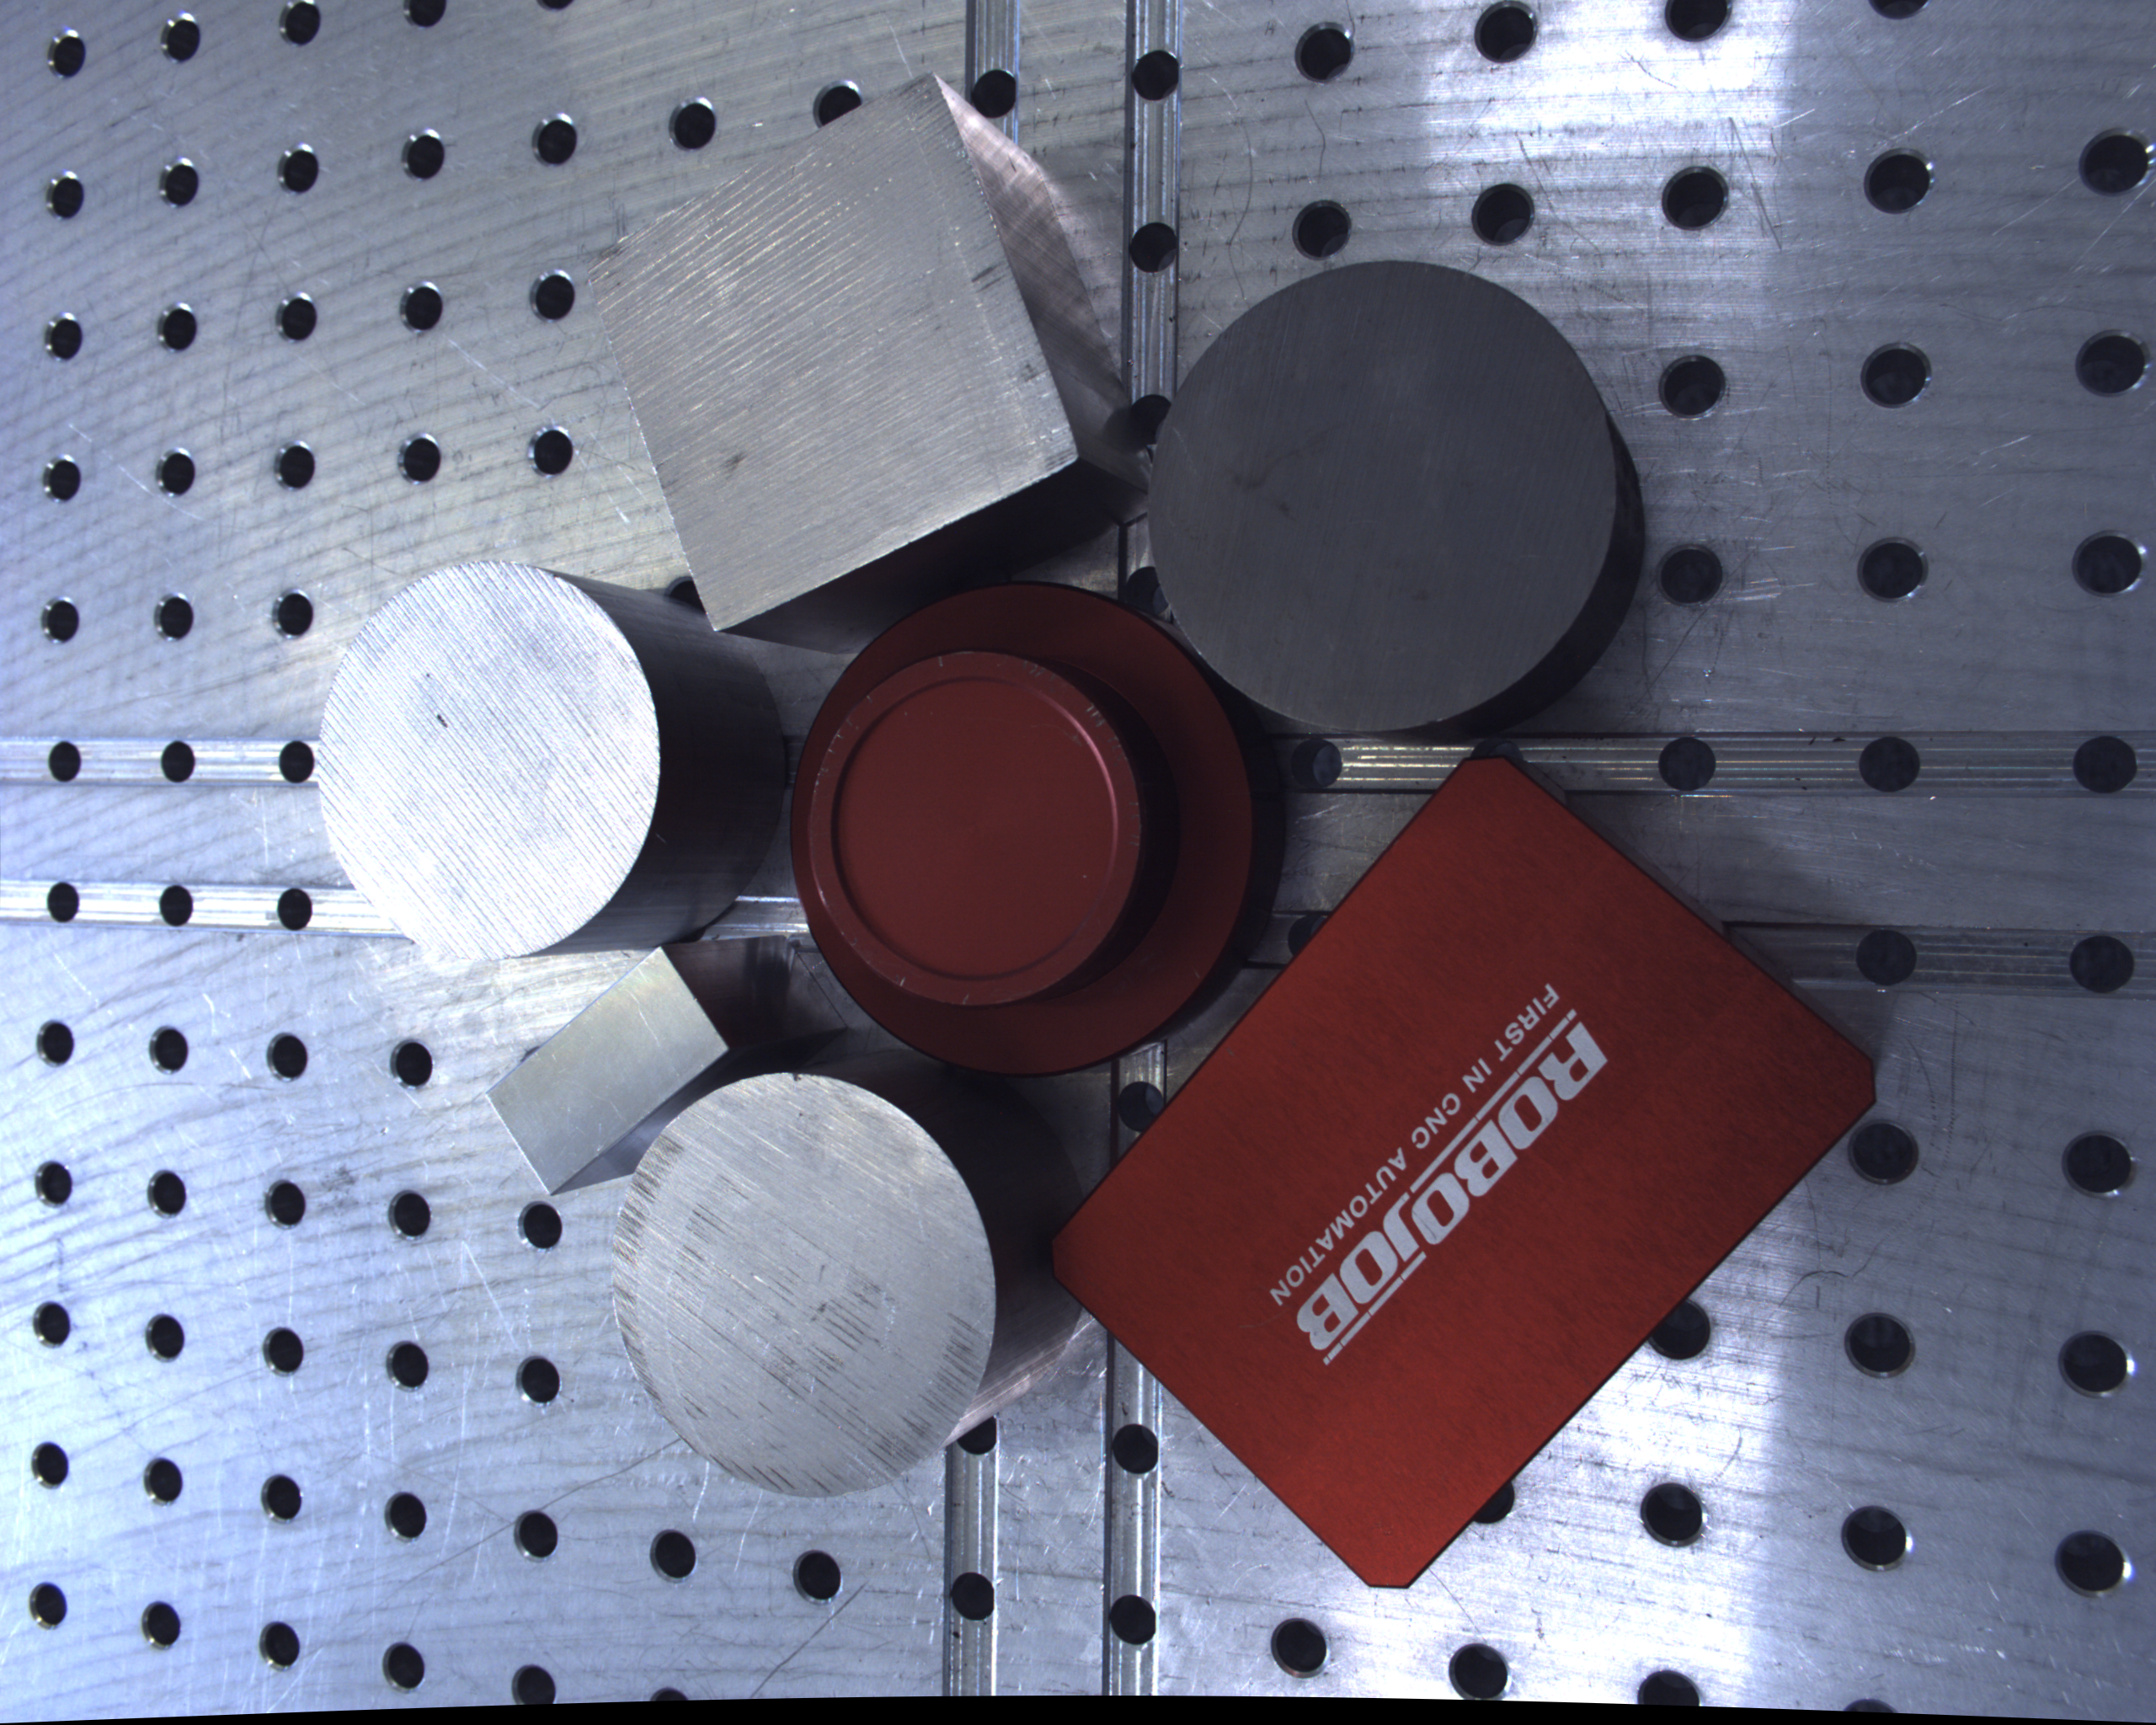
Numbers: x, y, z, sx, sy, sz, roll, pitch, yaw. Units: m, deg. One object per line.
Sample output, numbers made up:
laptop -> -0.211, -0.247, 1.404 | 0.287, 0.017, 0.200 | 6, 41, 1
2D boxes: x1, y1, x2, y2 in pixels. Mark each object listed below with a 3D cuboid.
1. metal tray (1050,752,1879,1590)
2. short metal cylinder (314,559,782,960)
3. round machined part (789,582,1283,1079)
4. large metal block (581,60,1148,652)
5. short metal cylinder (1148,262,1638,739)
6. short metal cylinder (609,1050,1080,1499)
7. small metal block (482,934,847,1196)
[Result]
metal tray -> 0.069, 0.055, 0.384 | 0.090, 0.030, 0.130 | 42, 103, 15
short metal cylinder -> -0.110, -0.021, 0.437 | 0.080, 0.050, 0.080 | 0, 90, 20
round machined part -> -0.013, -0.006, 0.407 | 0.098, 0.042, 0.097 | 0, 90, 20
large metal block -> -0.039, -0.096, 0.413 | 0.080, 0.050, 0.080 | -23, 83, 18
short metal cylinder -> 0.059, -0.062, 0.378 | 0.080, 0.050, 0.080 | 0, 90, 20
short metal cylinder -> -0.044, 0.079, 0.414 | 0.080, 0.050, 0.080 | 0, 90, 20
small metal block -> -0.084, 0.040, 0.428 | 0.050, 0.050, 0.025 | -39, 78, 16
